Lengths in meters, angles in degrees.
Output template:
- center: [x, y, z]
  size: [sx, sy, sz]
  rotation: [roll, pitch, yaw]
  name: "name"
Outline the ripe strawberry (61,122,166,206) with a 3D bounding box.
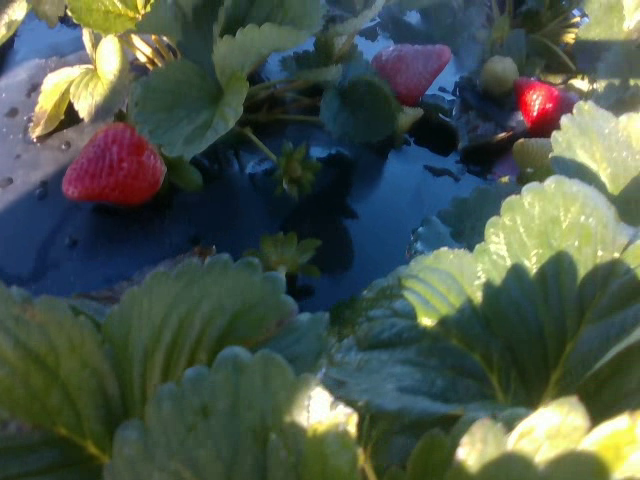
- center: [-0.100, -0.034, 0.293]
  size: [0.045, 0.042, 0.059]
  rotation: [-1, 37, 47]
  name: "ripe strawberry"
